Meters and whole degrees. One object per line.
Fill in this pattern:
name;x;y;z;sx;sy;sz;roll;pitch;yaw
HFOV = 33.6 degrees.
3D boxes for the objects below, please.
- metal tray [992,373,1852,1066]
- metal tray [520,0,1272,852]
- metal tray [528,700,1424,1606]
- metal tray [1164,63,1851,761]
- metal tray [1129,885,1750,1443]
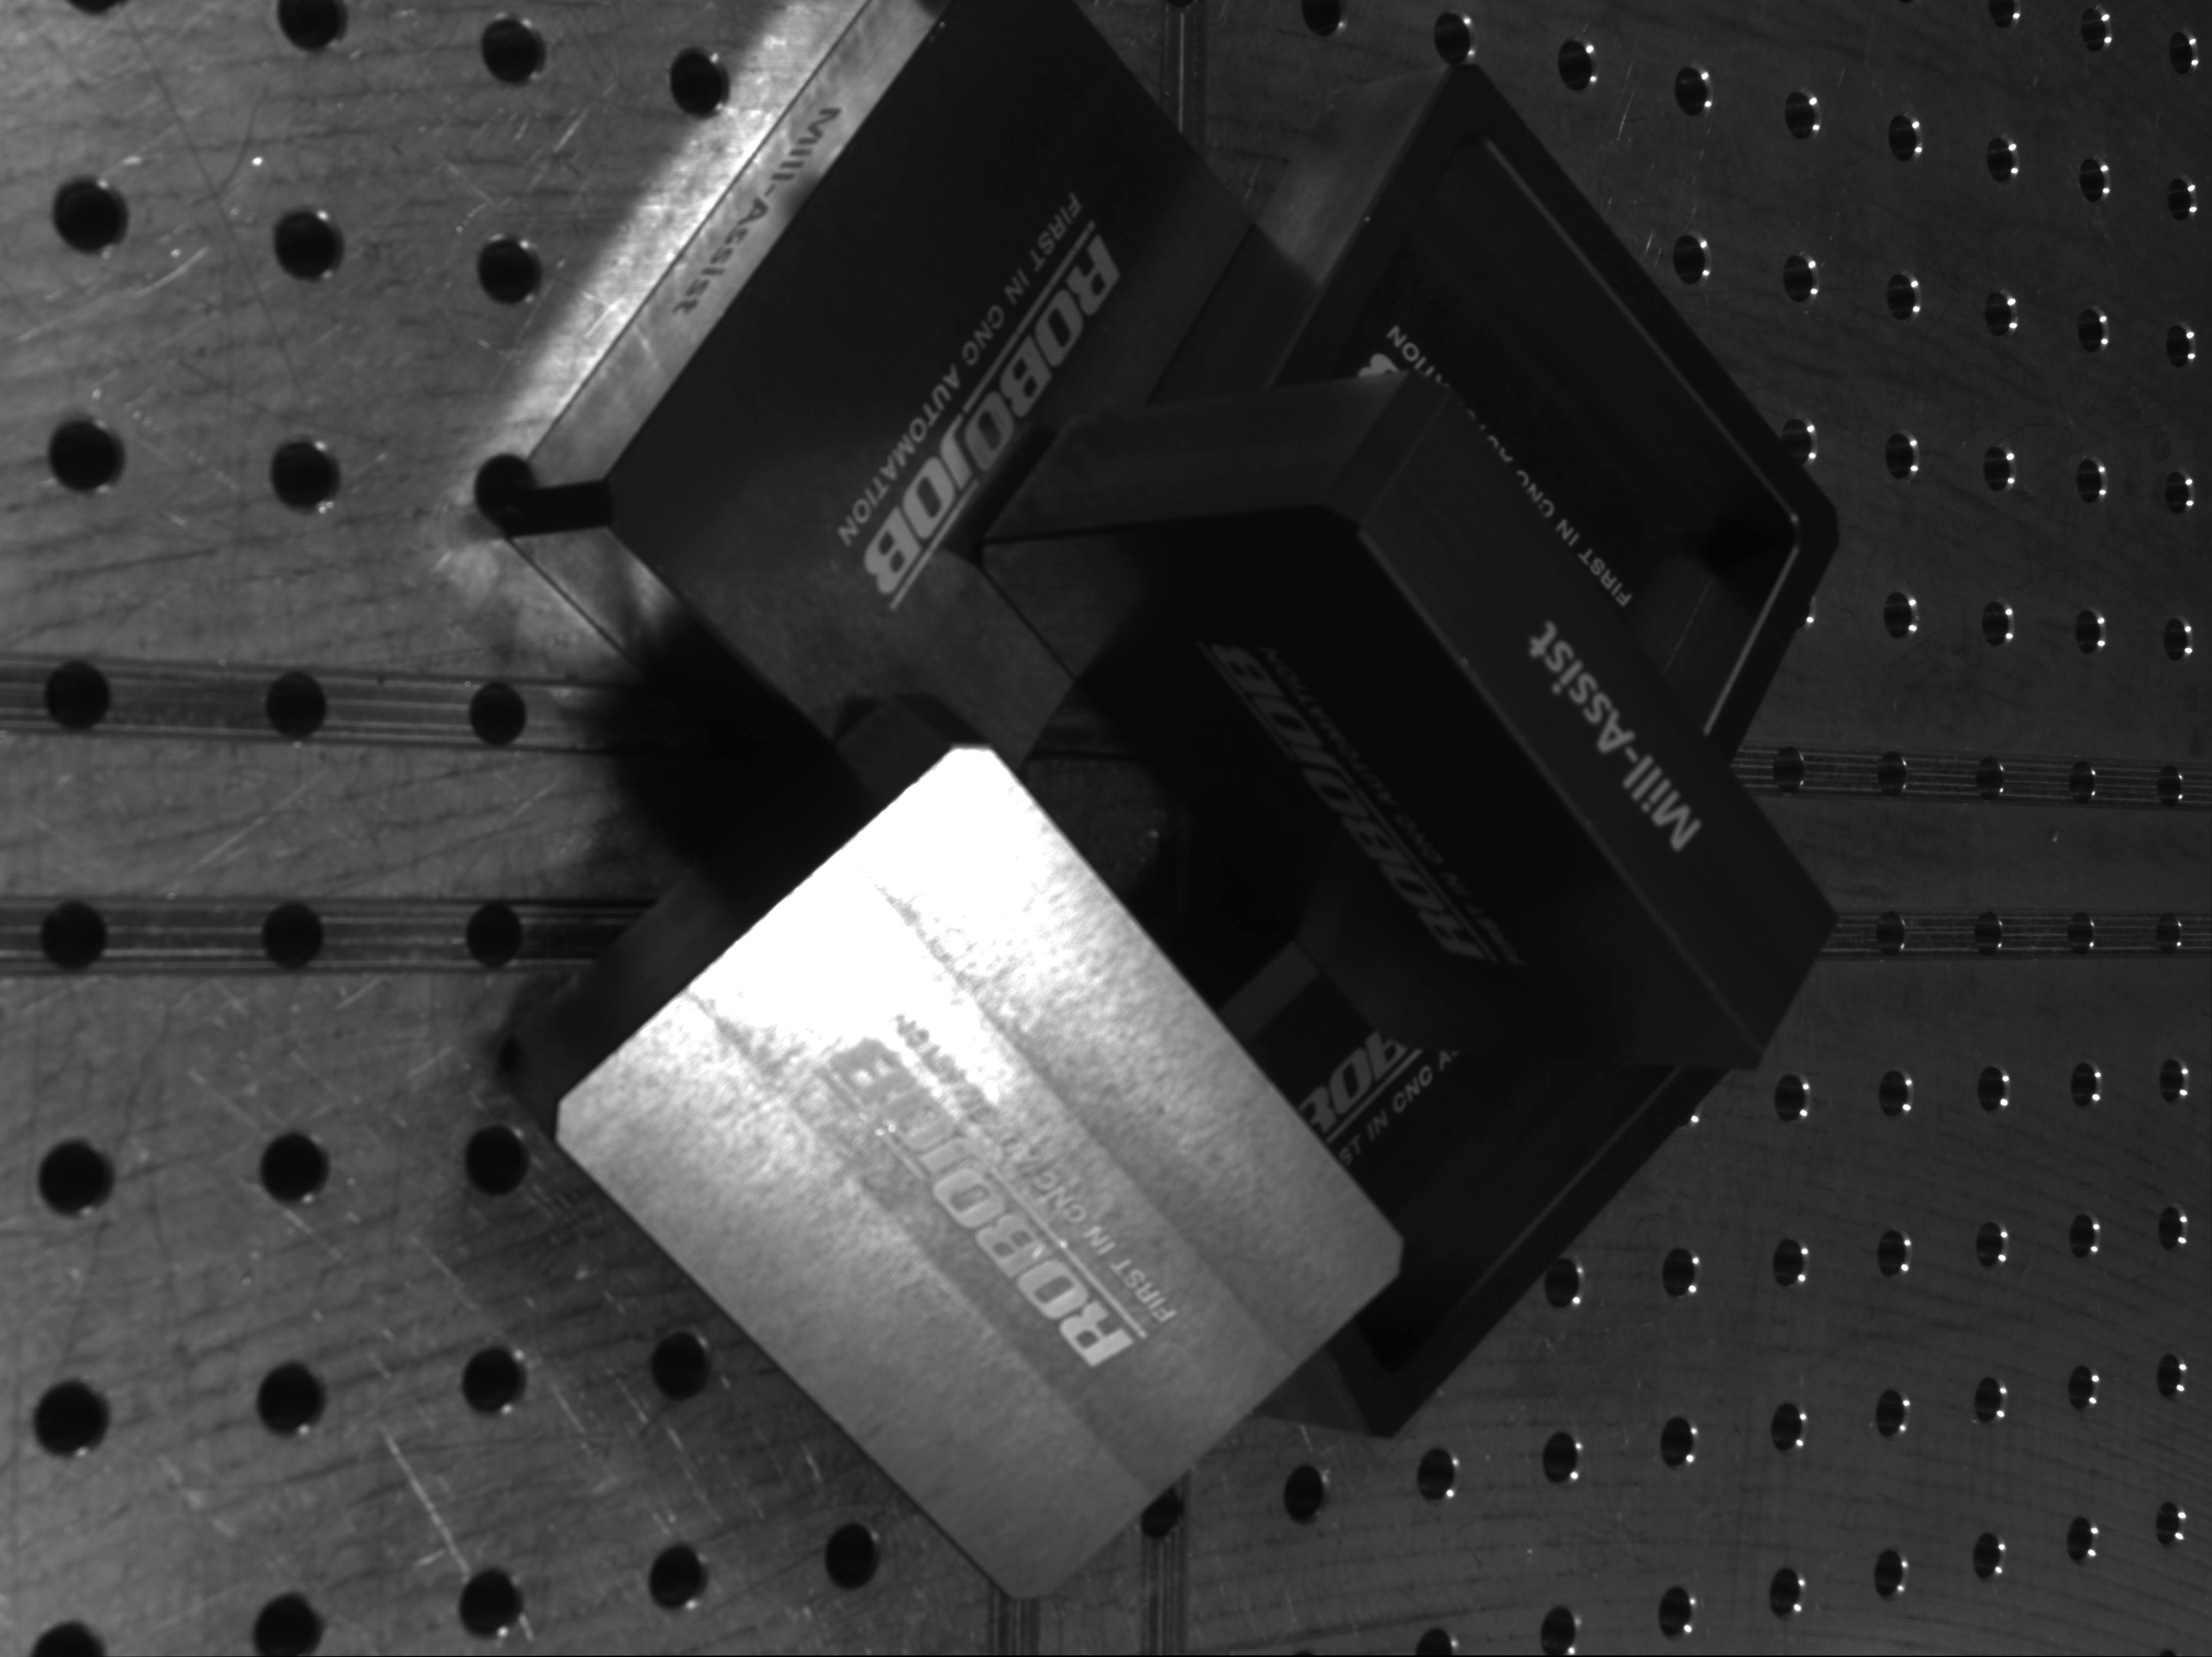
metal tray;0.052;-0.015;0.602;0.130;0.090;0.030;48;61;-29
metal tray;-0.027;-0.071;0.613;0.090;0.030;0.130;46;62;-30
metal tray;-0.019;0.055;0.597;0.090;0.030;0.130;-42;118;-4
metal tray;0.074;-0.061;0.659;0.130;0.030;0.090;44;64;-31
metal tray;0.065;0.041;0.689;0.130;0.030;0.090;-41;115;-32
